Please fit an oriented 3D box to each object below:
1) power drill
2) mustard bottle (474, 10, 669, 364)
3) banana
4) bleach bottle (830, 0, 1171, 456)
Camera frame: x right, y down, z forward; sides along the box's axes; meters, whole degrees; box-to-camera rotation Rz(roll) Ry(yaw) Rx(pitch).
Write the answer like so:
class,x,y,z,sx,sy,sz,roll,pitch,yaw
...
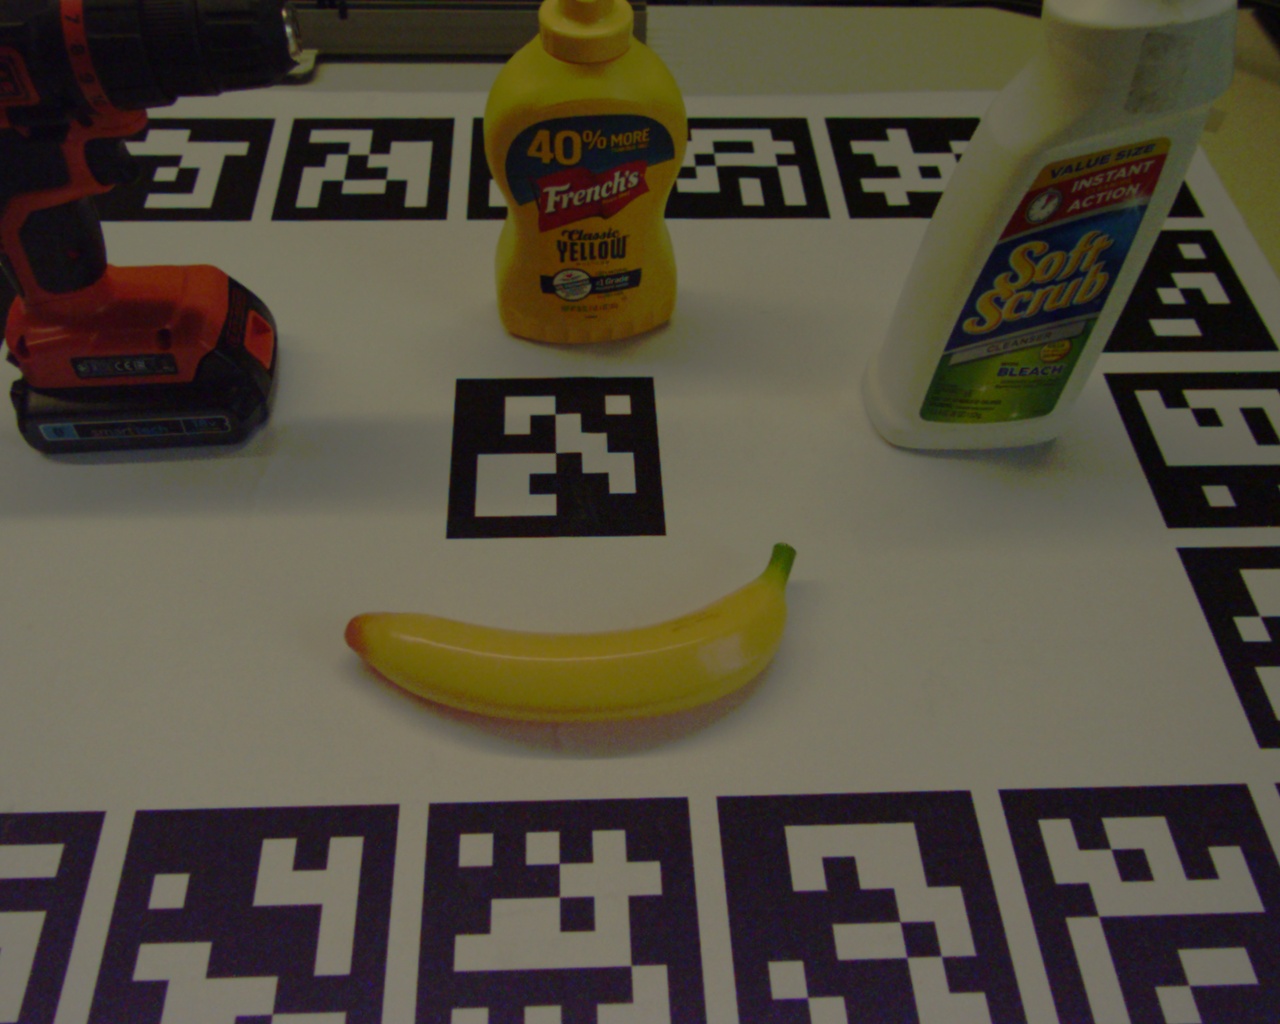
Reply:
class,x,y,z,sx,sy,sz,roll,pitch,yaw
power drill,-0.219,-0.138,0.514,0.184,0.186,0.058,-7,54,-3
mustard bottle,-0.035,-0.160,0.575,0.096,0.191,0.059,-6,54,-10
banana,-0.030,0.051,0.500,0.197,0.039,0.074,-6,56,-3
bleach bottle,0.161,-0.129,0.520,0.103,0.250,0.068,6,53,1
